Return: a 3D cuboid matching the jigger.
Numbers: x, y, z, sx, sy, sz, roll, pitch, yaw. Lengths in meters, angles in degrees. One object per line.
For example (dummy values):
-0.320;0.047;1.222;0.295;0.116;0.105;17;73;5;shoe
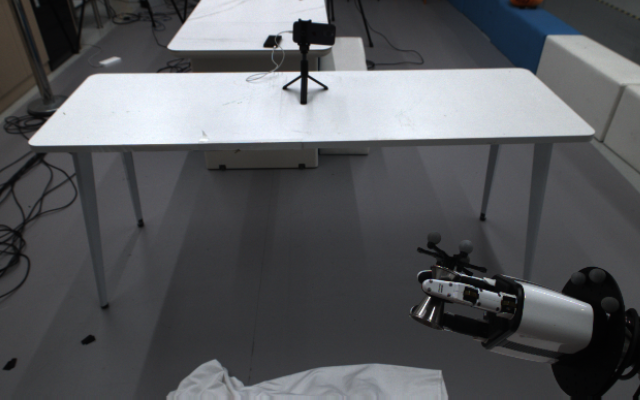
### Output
0.142;0.116;0.589;0.043;0.043;0.071;19;72;23;jigger
